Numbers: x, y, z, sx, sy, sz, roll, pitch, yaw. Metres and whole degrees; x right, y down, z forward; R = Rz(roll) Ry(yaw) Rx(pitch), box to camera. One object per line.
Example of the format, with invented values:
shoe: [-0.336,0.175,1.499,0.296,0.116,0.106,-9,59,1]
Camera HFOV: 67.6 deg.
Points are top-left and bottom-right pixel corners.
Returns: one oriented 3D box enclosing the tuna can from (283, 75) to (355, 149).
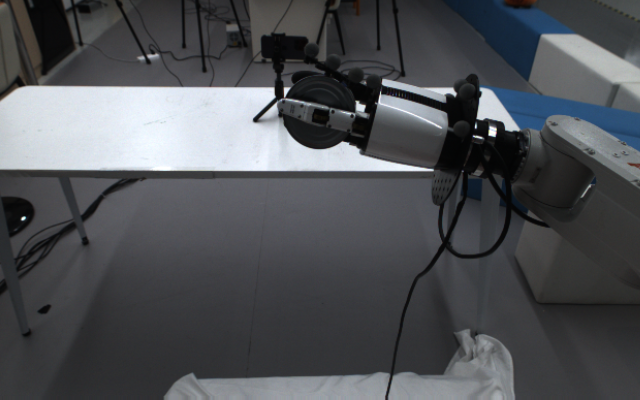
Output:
tuna can: [0.002,-0.107,0.577,0.085,0.085,0.034,7,17,7]
